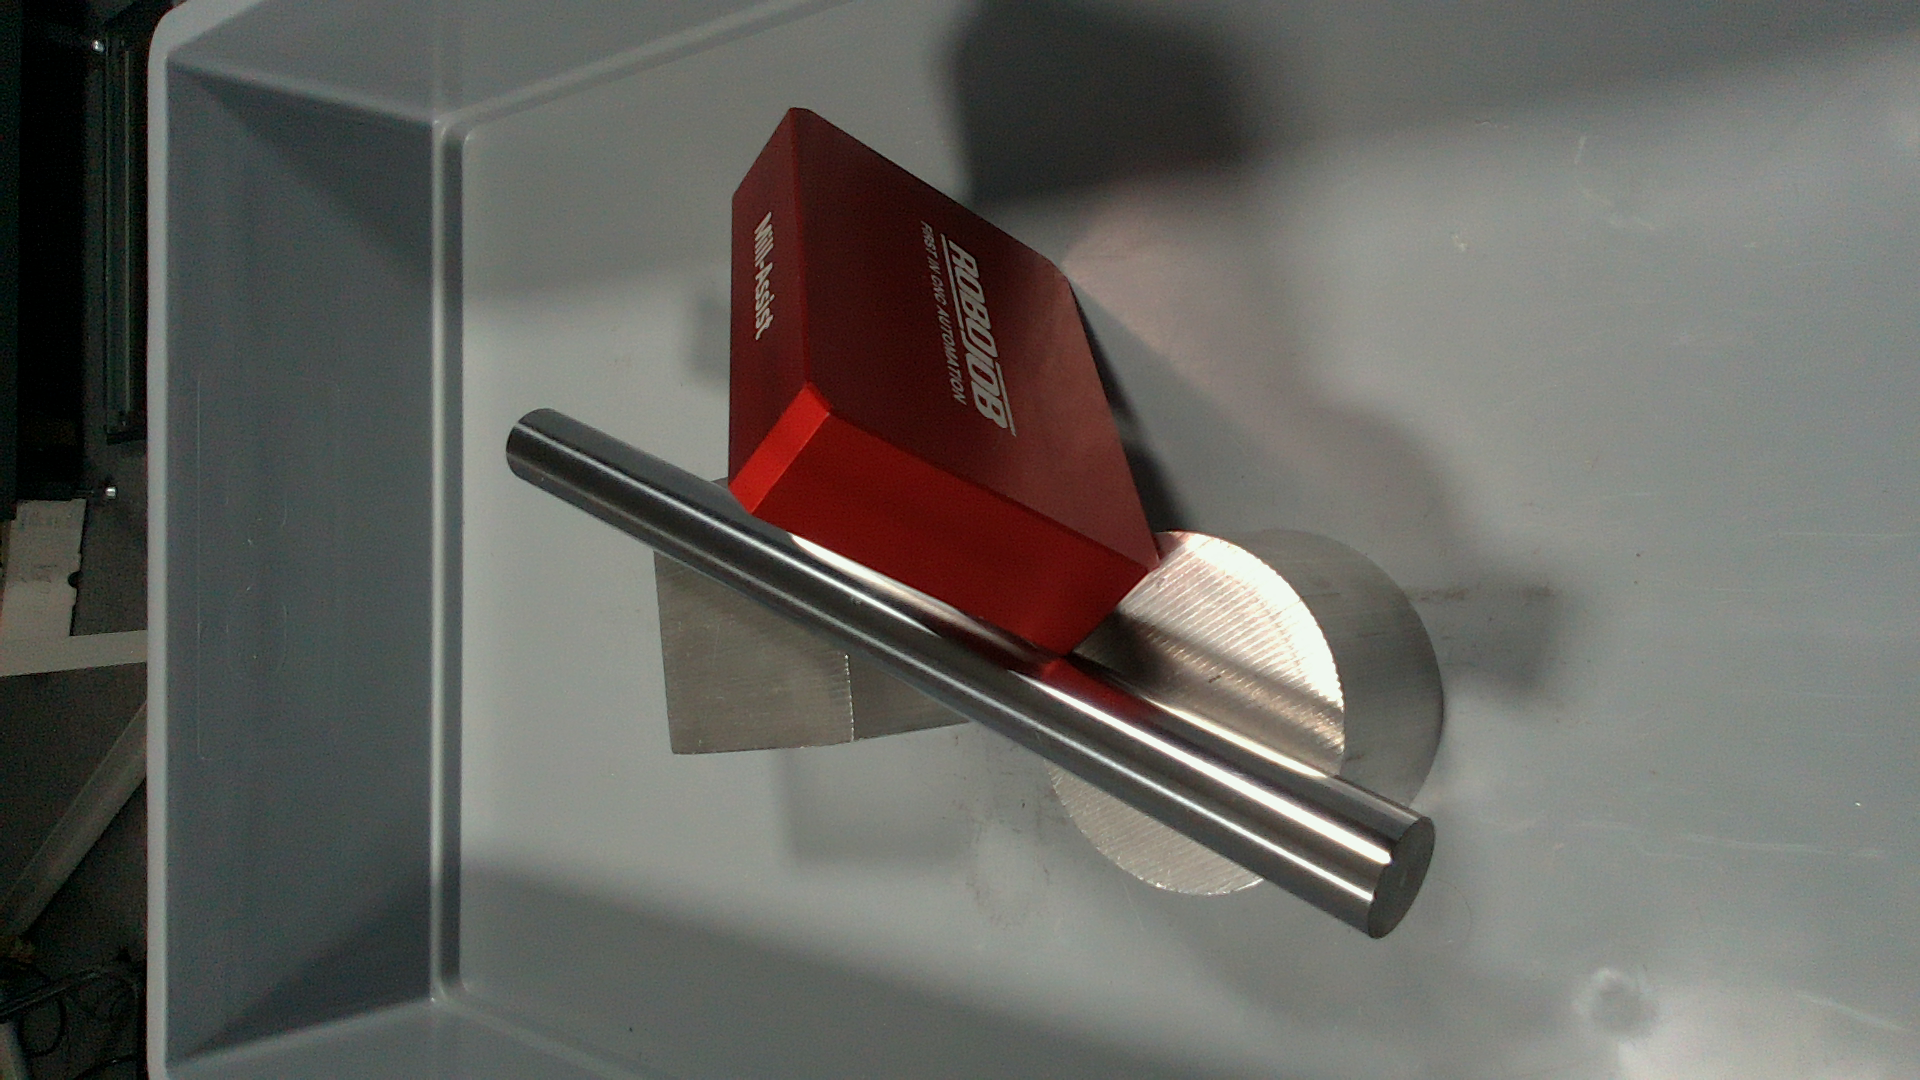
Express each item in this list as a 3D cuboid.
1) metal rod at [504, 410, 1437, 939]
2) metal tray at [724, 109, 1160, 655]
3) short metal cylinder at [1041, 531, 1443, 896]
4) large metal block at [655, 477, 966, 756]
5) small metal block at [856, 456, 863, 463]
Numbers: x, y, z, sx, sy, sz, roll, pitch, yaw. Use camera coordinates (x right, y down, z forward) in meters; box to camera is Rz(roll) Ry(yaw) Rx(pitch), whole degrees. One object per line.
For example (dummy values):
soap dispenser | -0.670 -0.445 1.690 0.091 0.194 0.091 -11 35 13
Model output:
metal rod | -0.026 0.016 0.348 0.299 0.025 0.025 23 105 38
metal tray | -0.008 -0.042 0.325 0.030 0.090 0.130 -48 32 29
short metal cylinder | 0.064 0.038 0.323 0.080 0.050 0.080 0 90 40
large metal block | -0.046 0.021 0.416 0.080 0.050 0.080 -10 83 40
small metal block | -0.023 -0.041 0.369 0.050 0.025 0.050 -3 51 14
